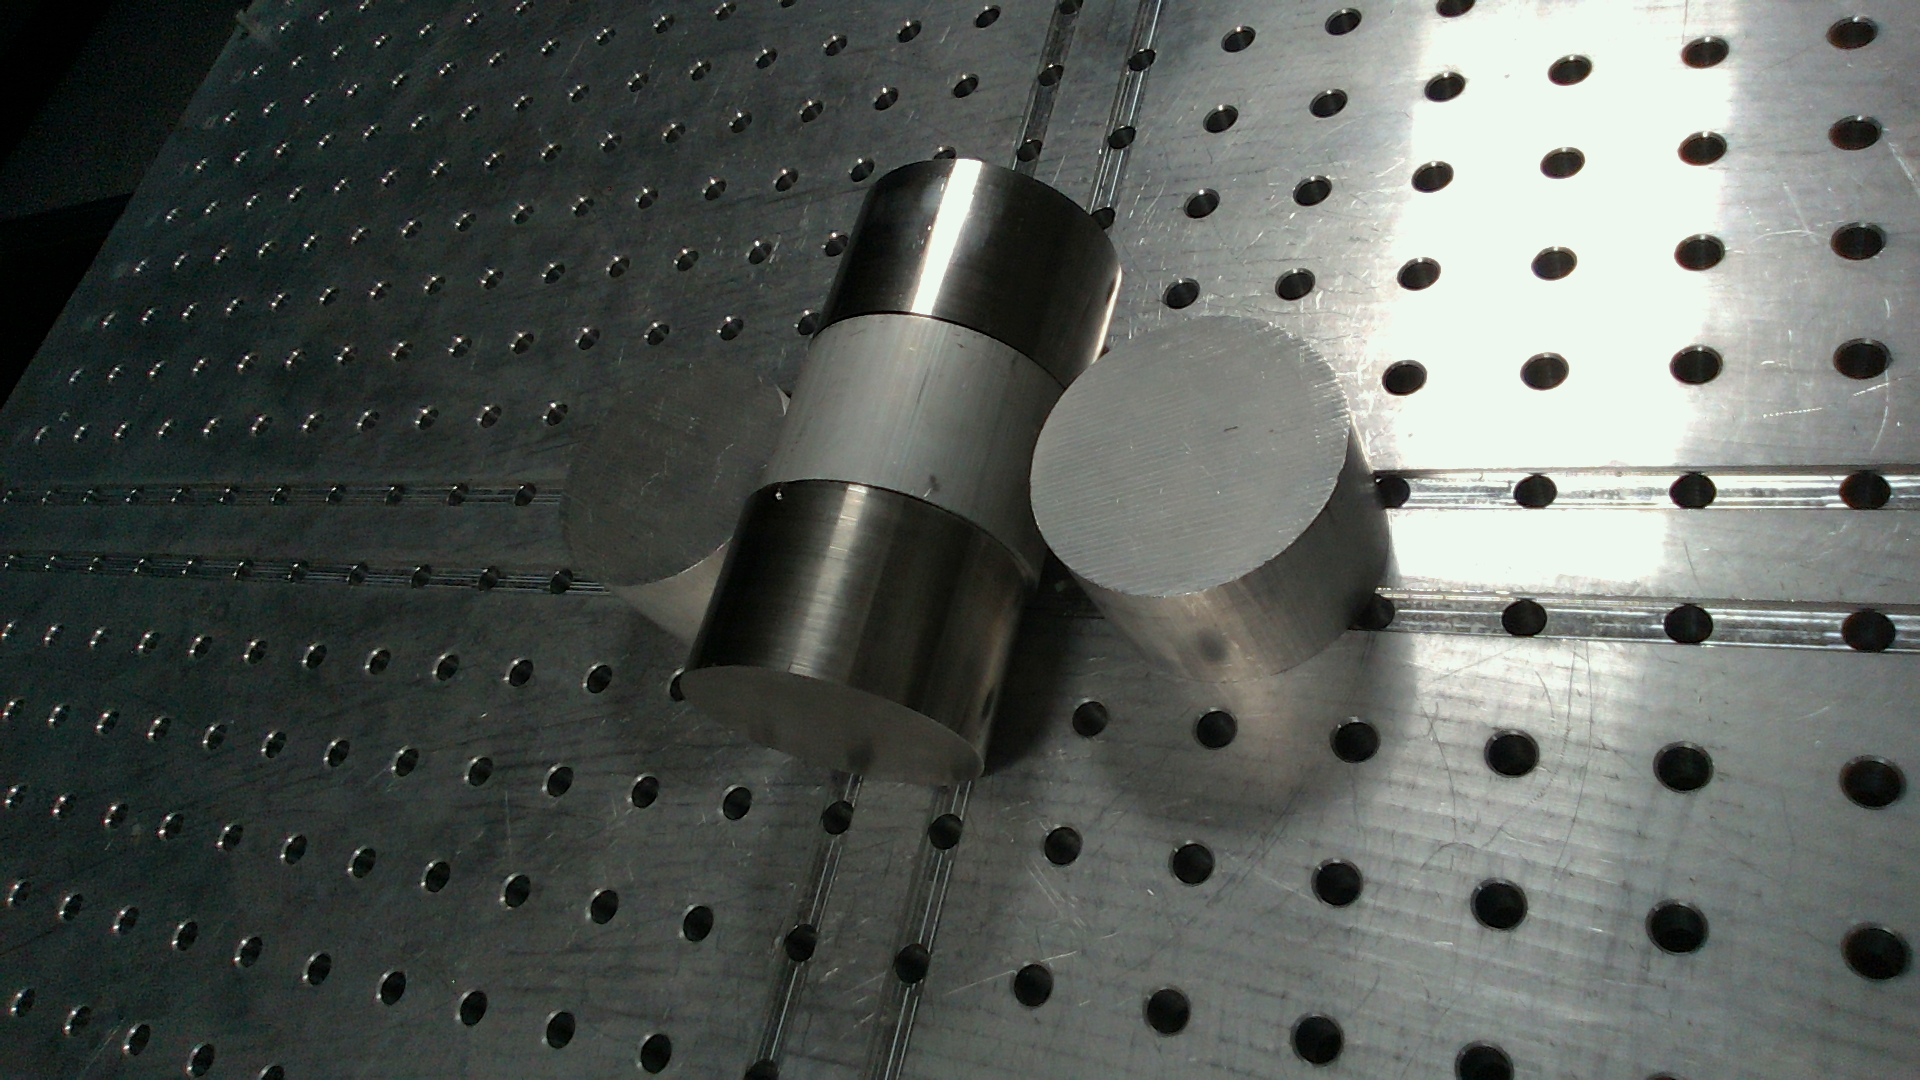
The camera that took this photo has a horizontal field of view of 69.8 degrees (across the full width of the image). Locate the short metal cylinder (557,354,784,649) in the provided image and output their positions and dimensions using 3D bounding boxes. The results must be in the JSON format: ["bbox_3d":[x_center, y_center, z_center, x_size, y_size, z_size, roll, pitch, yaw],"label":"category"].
[{"bbox_3d":[-0.076,-0.010,0.428,0.080,0.050,0.080,-14,56,21],"label":"short metal cylinder"}]

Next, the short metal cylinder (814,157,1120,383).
[{"bbox_3d":[0.002,-0.064,0.399,0.080,0.080,0.050,2,63,30],"label":"short metal cylinder"}]

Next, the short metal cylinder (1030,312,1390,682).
[{"bbox_3d":[0.064,-0.011,0.351,0.080,0.050,0.080,-14,56,21],"label":"short metal cylinder"}]

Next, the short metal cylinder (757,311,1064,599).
[{"bbox_3d":[-0.012,-0.018,0.379,0.080,0.080,0.050,2,63,29],"label":"short metal cylinder"}]

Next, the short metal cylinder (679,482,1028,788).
[{"bbox_3d":[-0.026,0.027,0.359,0.080,0.080,0.050,1,62,29],"label":"short metal cylinder"}]
